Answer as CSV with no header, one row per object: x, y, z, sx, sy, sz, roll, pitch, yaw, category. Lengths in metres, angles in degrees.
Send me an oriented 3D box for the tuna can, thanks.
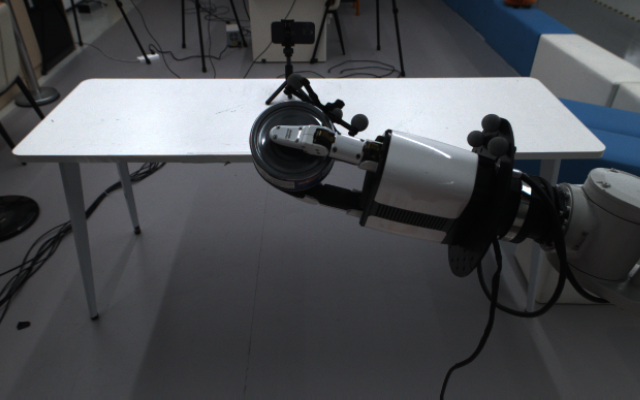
-0.021,-0.048,0.478,0.085,0.034,0.085,0,74,0,tuna can
